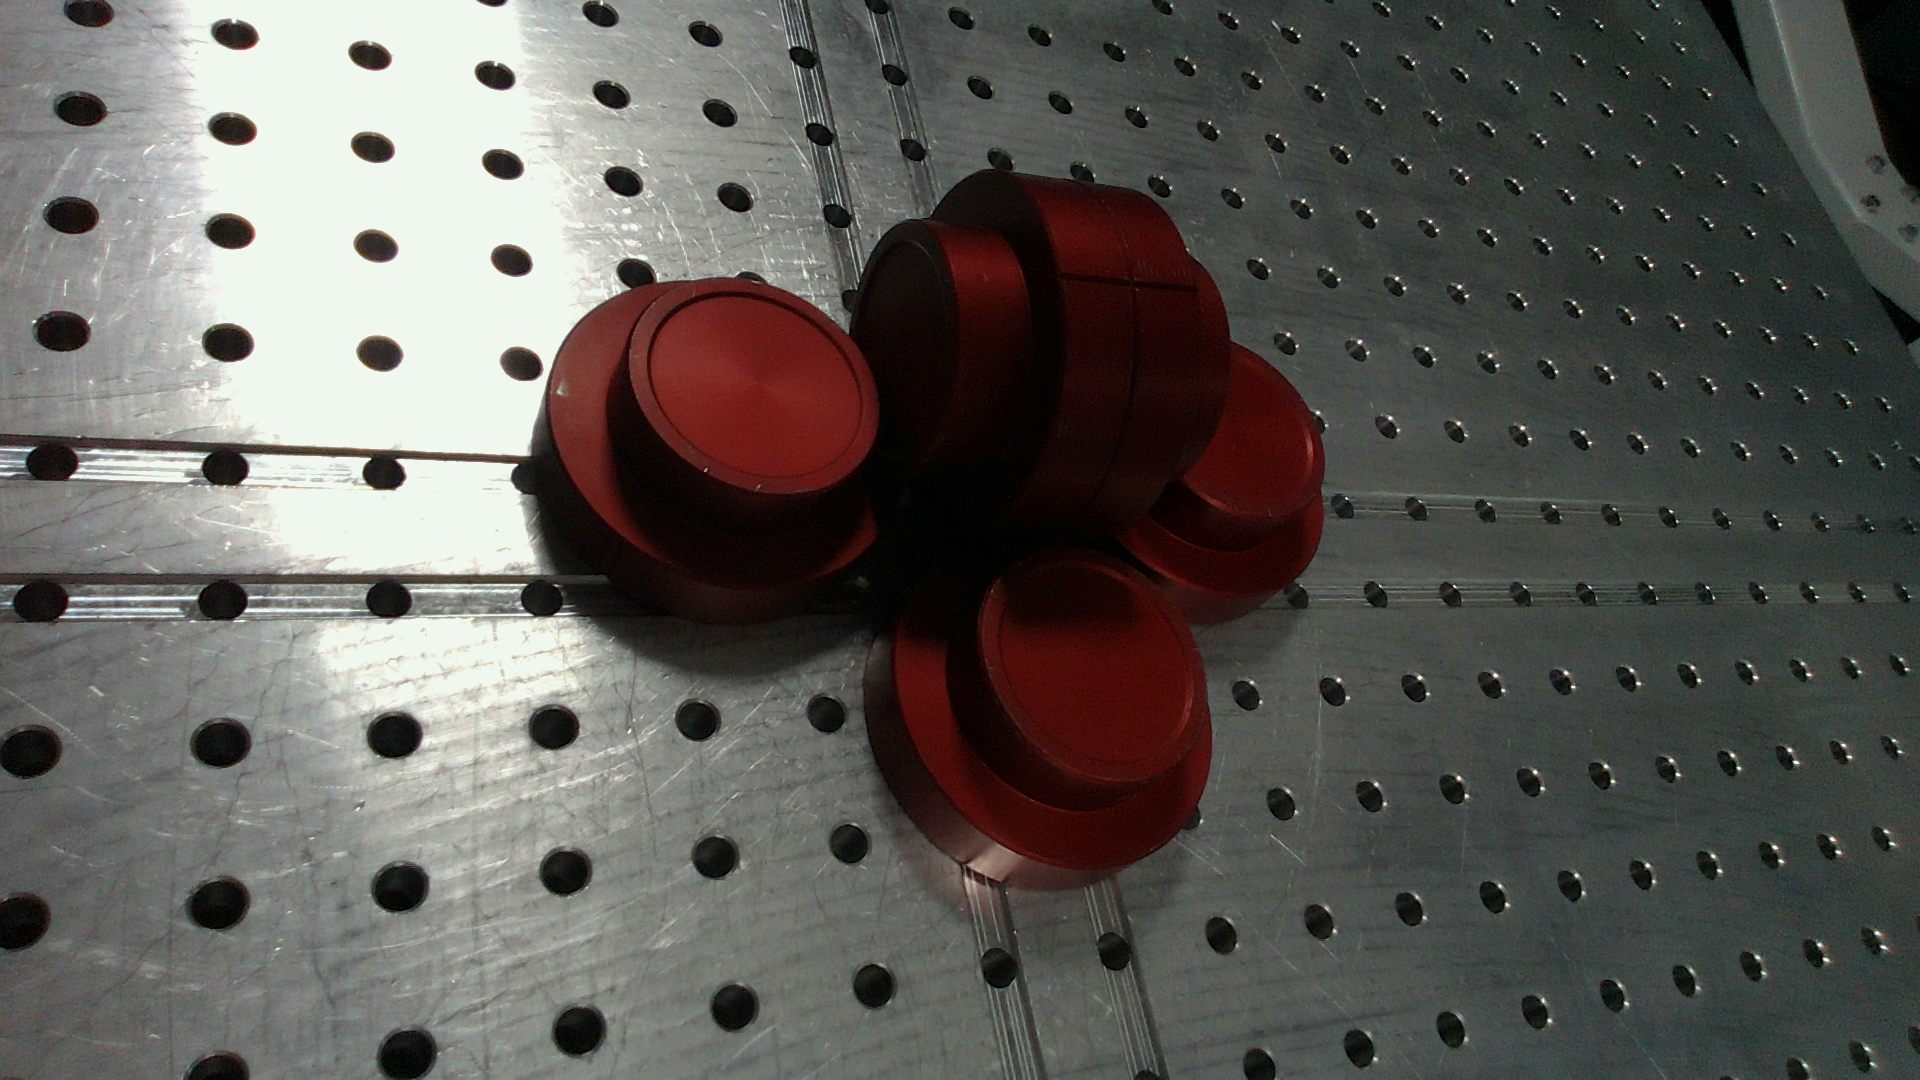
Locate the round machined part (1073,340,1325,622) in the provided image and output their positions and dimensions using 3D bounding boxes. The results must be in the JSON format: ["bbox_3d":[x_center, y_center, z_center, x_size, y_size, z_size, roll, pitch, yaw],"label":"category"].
[{"bbox_3d":[0.076,-0.027,0.438,0.098,0.042,0.098,14,56,-21],"label":"round machined part"}]

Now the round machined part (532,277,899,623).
[{"bbox_3d":[-0.061,-0.031,0.368,0.098,0.042,0.098,14,56,-21],"label":"round machined part"}]

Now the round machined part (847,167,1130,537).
[{"bbox_3d":[0.001,-0.050,0.369,0.042,0.098,0.098,1,61,-27],"label":"round machined part"}]

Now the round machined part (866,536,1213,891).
[{"bbox_3d":[0.027,0.041,0.371,0.098,0.042,0.098,14,56,-21],"label":"round machined part"}]

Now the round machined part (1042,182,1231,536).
[{"bbox_3d":[0.039,-0.050,0.390,0.042,0.098,0.098,-1,62,-28],"label":"round machined part"}]
